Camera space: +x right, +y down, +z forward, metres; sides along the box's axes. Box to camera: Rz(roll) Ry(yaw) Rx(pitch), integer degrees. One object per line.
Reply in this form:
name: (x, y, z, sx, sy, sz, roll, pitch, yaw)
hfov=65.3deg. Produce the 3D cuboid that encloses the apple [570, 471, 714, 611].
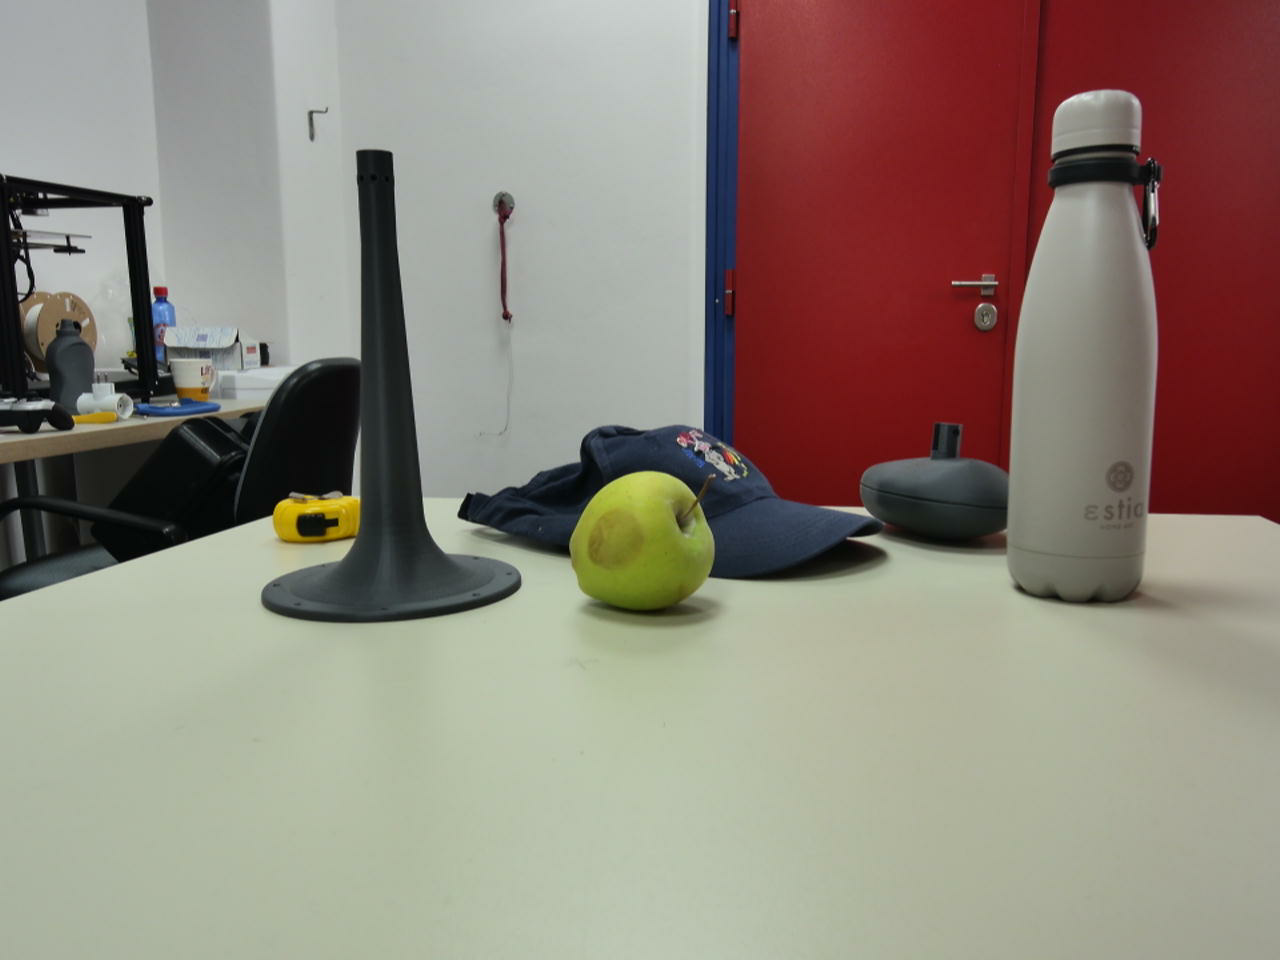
apple: (0.002, 0.034, 0.549, 0.072, 0.075, 0.077, -5, 8, -34)
